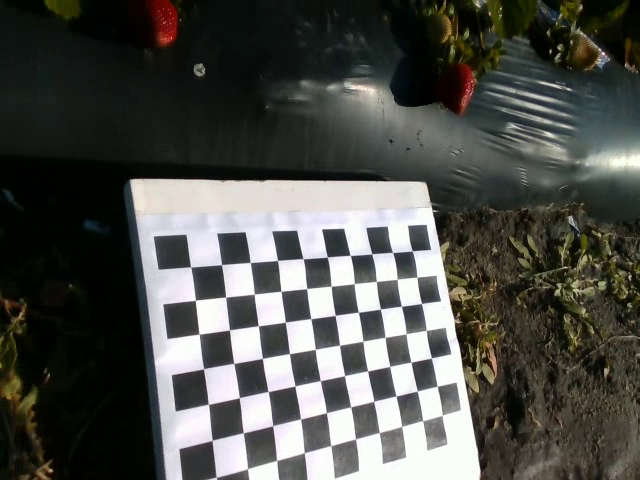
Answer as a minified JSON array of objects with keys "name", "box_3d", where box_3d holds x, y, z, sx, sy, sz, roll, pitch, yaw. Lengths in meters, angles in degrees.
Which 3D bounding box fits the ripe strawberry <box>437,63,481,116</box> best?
[{"name":"ripe strawberry","box_3d":[0.120,-0.134,0.640,0.042,0.059,0.042,24,-37,-33]}]

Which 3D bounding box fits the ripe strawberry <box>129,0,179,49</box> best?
[{"name":"ripe strawberry","box_3d":[-0.114,-0.154,0.517,0.045,0.055,0.042,9,-49,-38]}]
